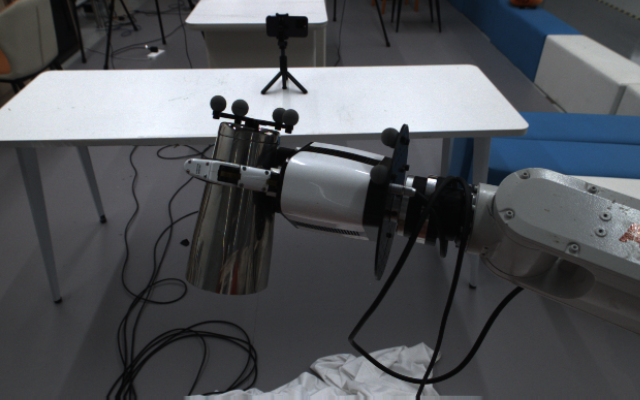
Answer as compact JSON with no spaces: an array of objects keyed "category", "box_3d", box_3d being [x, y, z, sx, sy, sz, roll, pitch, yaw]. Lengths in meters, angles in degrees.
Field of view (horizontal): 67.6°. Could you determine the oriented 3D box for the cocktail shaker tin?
[{"category":"cocktail shaker tin","box_3d":[-0.085,0.005,0.529,0.093,0.170,0.093,10,9,-2]}]
